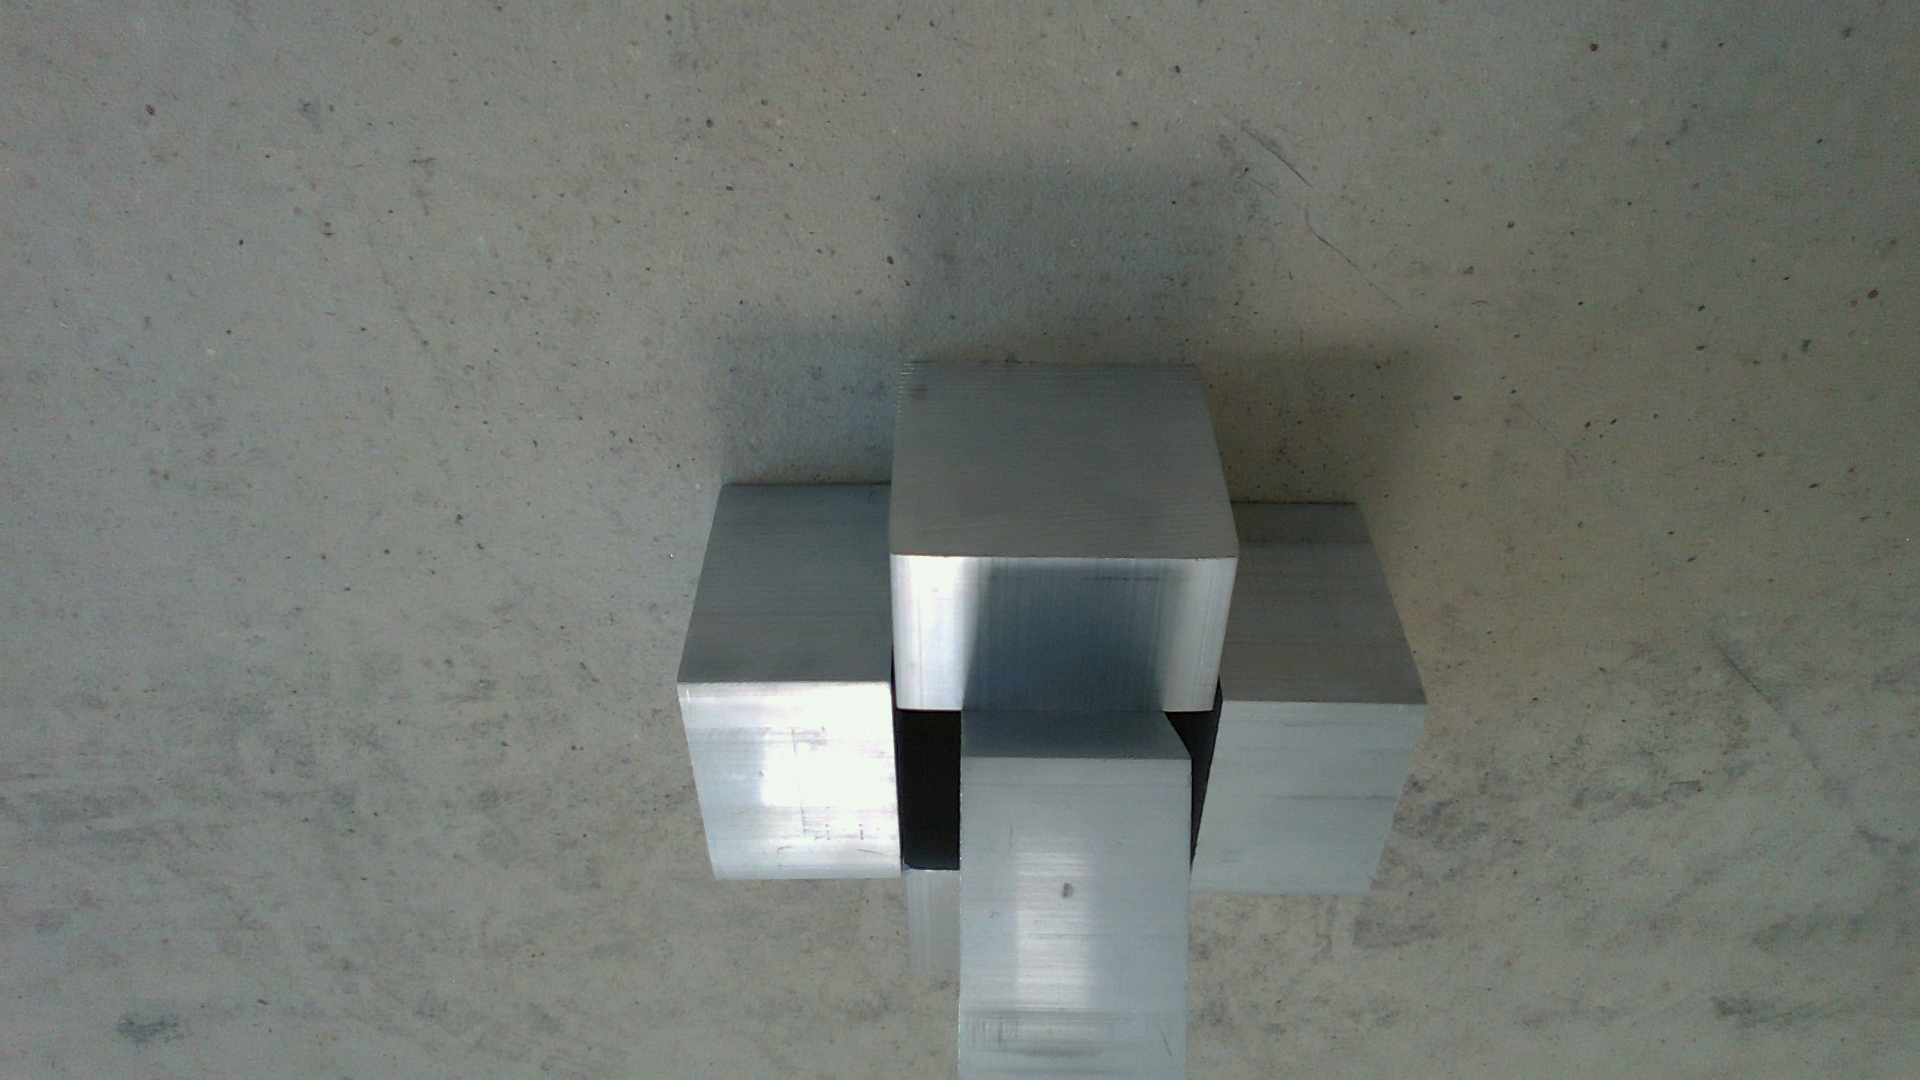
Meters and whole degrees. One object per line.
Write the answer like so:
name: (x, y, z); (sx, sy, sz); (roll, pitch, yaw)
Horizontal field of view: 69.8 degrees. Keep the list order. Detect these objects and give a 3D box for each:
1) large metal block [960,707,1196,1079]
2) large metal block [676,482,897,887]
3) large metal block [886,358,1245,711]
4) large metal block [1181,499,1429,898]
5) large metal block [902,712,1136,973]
large metal block: (0.025, 0.082, 0.339); (0.050, 0.080, 0.080); (0, 96, 0)
large metal block: (-0.043, 0.040, 0.387); (0.050, 0.080, 0.080); (0, 130, 0)
large metal block: (0.024, -0.003, 0.353); (0.080, 0.080, 0.050); (0, 130, -1)
large metal block: (0.089, 0.045, 0.393); (0.050, 0.080, 0.080); (0, 130, -1)
large metal block: (0.024, 0.085, 0.427); (0.080, 0.080, 0.050); (0, 130, 0)
